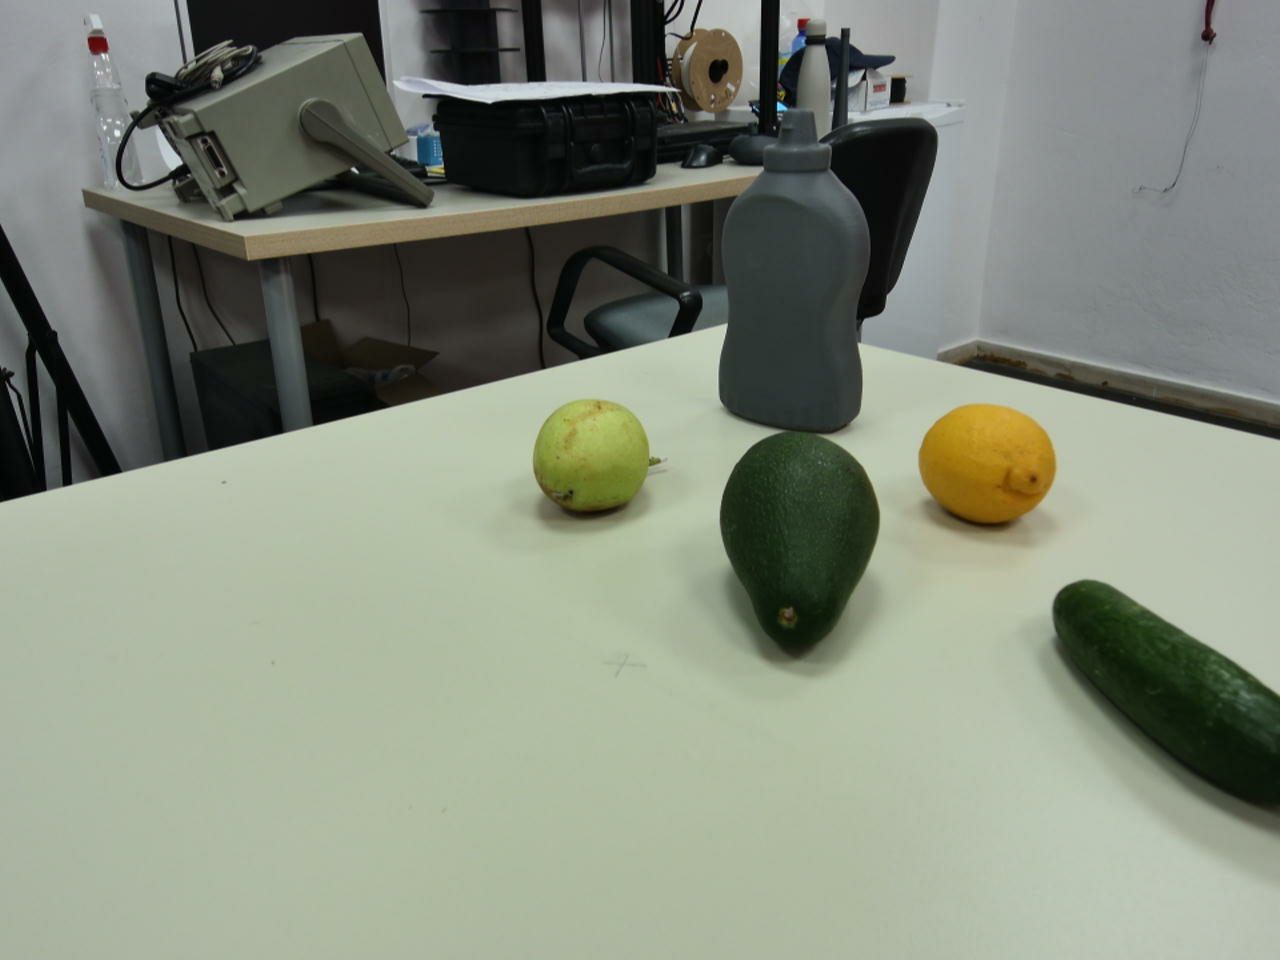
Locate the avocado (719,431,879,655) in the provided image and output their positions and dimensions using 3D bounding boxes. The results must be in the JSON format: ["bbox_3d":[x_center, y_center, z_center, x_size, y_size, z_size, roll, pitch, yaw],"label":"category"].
[{"bbox_3d":[0.066,0.020,0.437,0.073,0.071,0.109,10,25,26],"label":"avocado"}]
